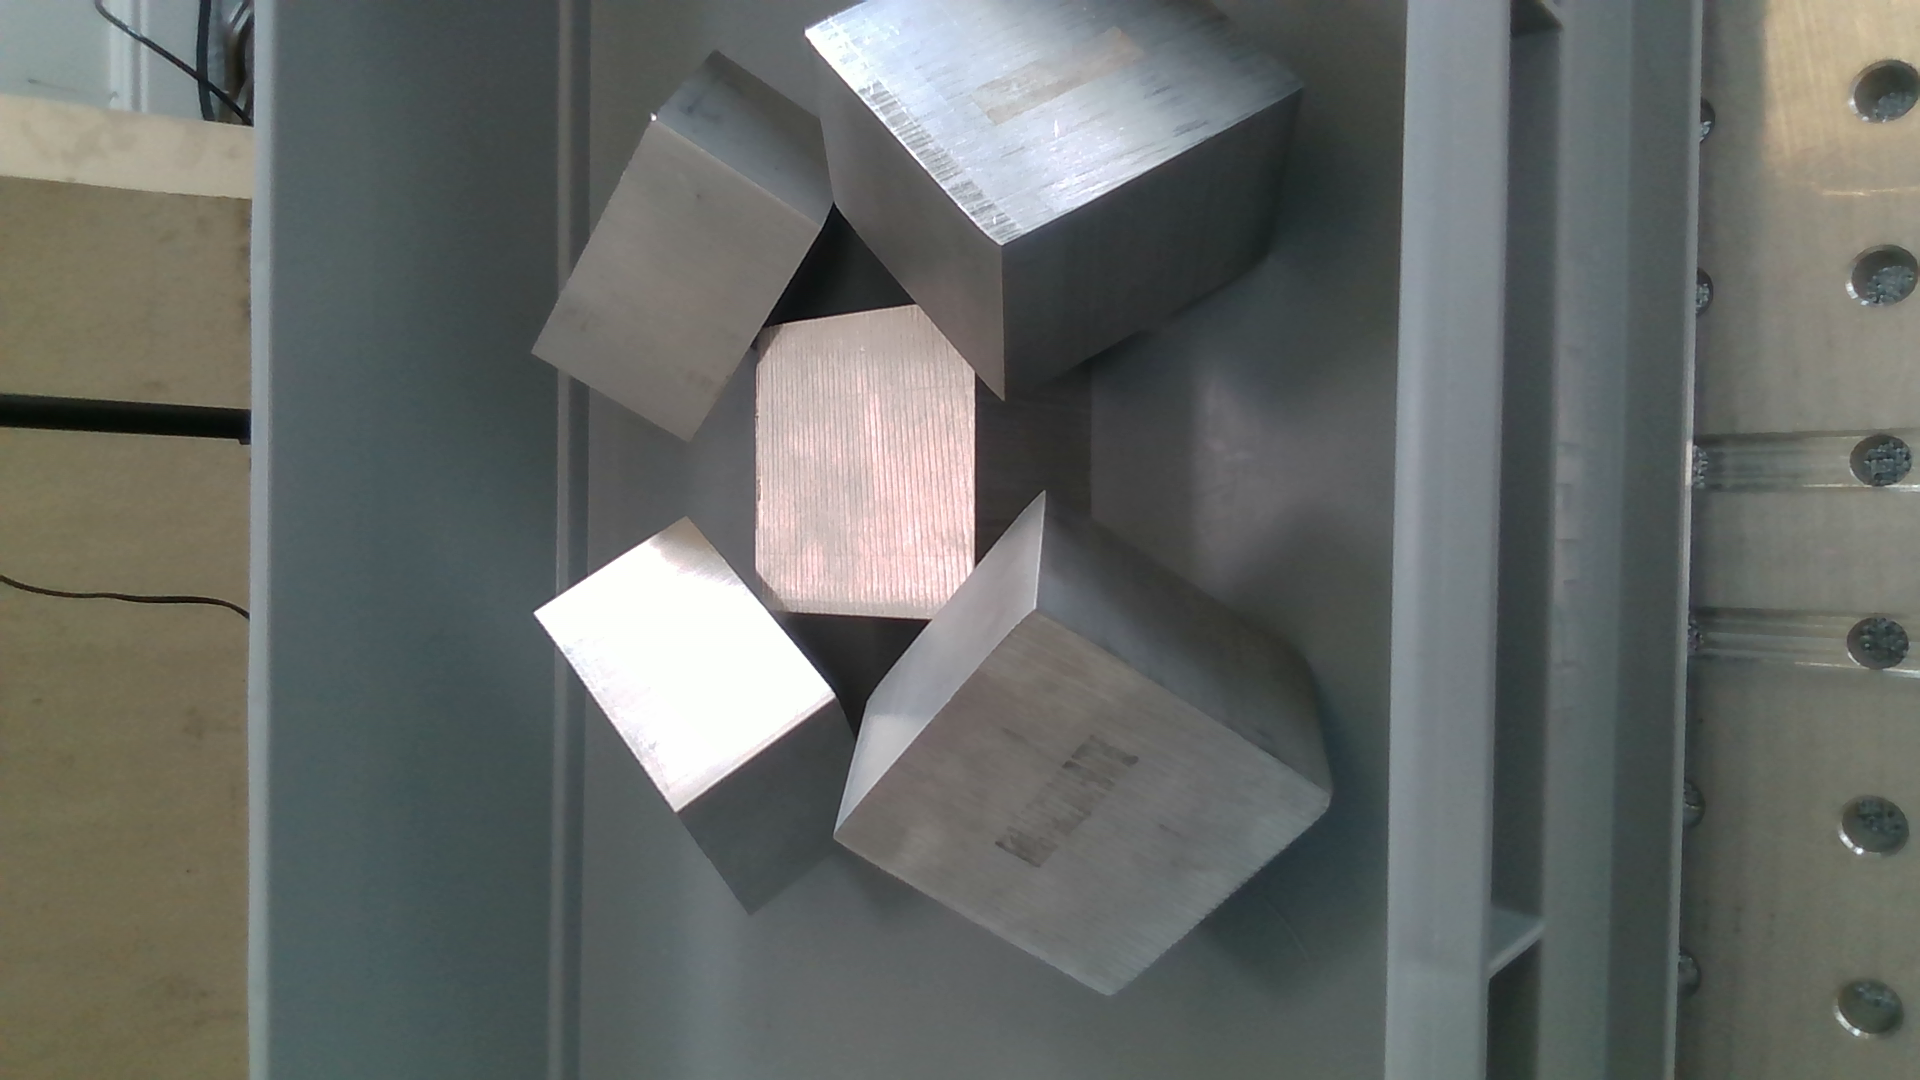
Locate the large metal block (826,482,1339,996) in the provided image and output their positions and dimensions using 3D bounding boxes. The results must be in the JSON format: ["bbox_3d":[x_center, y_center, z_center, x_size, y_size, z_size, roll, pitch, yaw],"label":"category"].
[{"bbox_3d":[0.028,0.048,0.323,0.080,0.050,0.080,33,118,-12],"label":"large metal block"}]

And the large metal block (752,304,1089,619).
[{"bbox_3d":[-0.012,-0.020,0.381,0.080,0.050,0.080,1,91,40],"label":"large metal block"}]

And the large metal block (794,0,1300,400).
[{"bbox_3d":[0.019,-0.093,0.326,0.080,0.080,0.050,52,164,27],"label":"large metal block"}]

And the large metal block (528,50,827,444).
[{"bbox_3d":[-0.077,-0.089,0.410,0.080,0.050,0.080,-52,15,28],"label":"large metal block"}]

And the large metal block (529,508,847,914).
[{"bbox_3d":[-0.072,0.052,0.406,0.080,0.050,0.080,45,163,30],"label":"large metal block"}]
